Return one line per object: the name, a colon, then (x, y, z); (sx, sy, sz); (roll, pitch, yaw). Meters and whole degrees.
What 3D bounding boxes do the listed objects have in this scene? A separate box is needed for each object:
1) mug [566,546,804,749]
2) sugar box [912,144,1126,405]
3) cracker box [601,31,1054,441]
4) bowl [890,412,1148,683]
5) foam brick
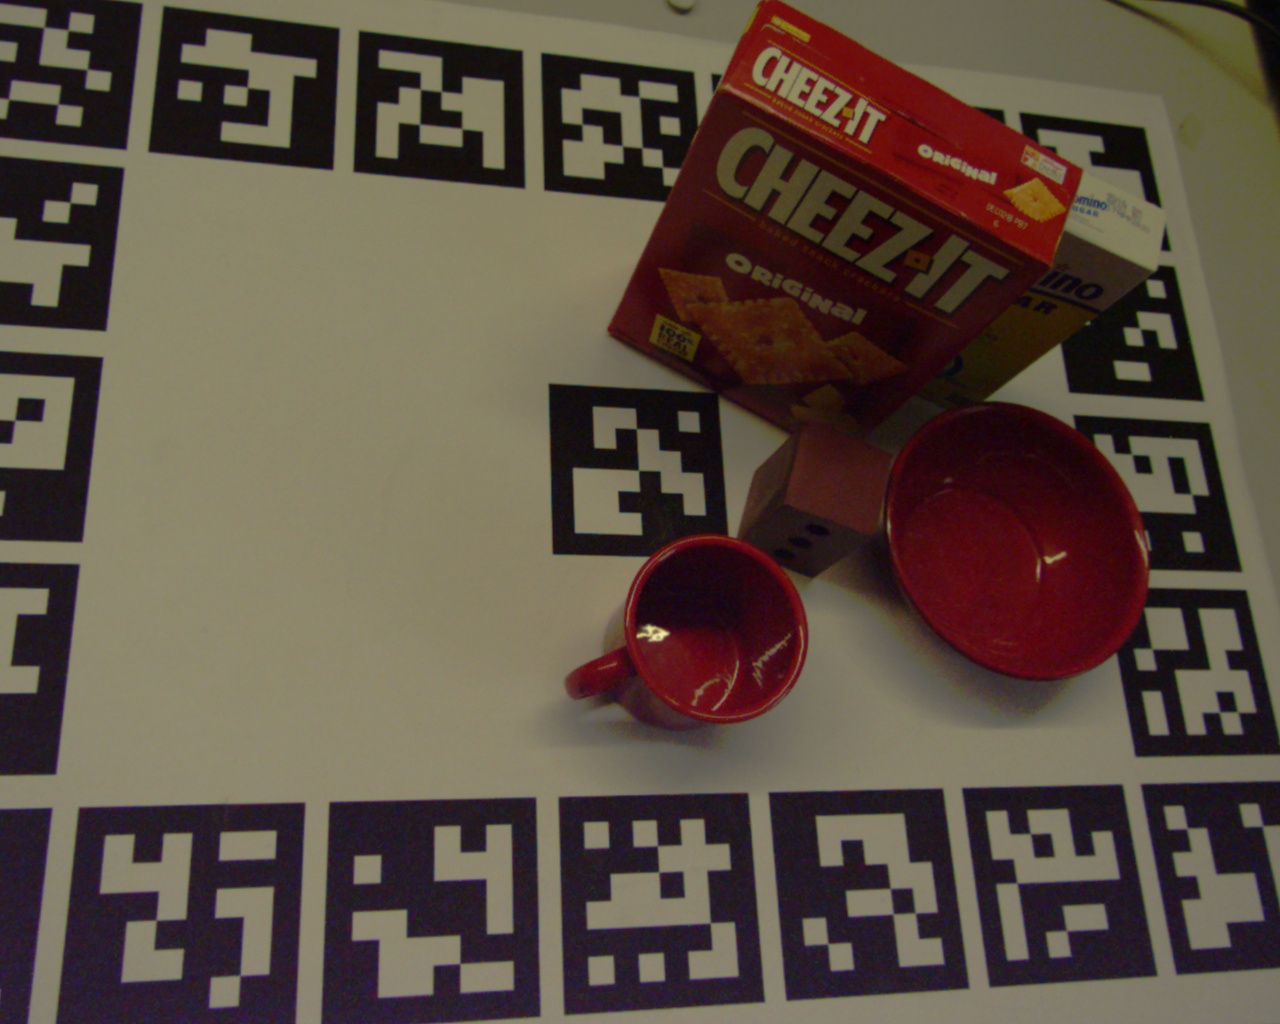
mug: (0.018, 0.078, 0.599); (0.116, 0.081, 0.094); (-8, 66, -15)
sugar box: (0.187, -0.130, 0.664); (0.092, 0.177, 0.045); (22, 68, -6)
cracker box: (0.085, -0.125, 0.619); (0.164, 0.214, 0.072); (30, 65, -4)
bowl: (0.211, 0.025, 0.671); (0.160, 0.055, 0.162); (4, 71, -12)
foam brick: (0.089, -0.006, 0.656); (0.052, 0.078, 0.051); (16, 68, -8)
